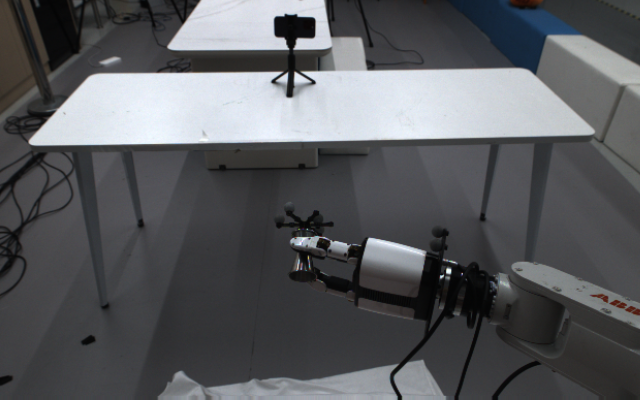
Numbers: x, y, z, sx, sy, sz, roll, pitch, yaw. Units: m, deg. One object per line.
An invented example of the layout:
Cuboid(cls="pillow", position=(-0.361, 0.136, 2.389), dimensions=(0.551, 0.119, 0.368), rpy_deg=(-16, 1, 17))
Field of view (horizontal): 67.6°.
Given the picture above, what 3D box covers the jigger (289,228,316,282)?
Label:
Cuboid(cls="jigger", position=(-0.024, 0.078, 0.711), dimensions=(0.043, 0.043, 0.071), rpy_deg=(2, 59, 0))
